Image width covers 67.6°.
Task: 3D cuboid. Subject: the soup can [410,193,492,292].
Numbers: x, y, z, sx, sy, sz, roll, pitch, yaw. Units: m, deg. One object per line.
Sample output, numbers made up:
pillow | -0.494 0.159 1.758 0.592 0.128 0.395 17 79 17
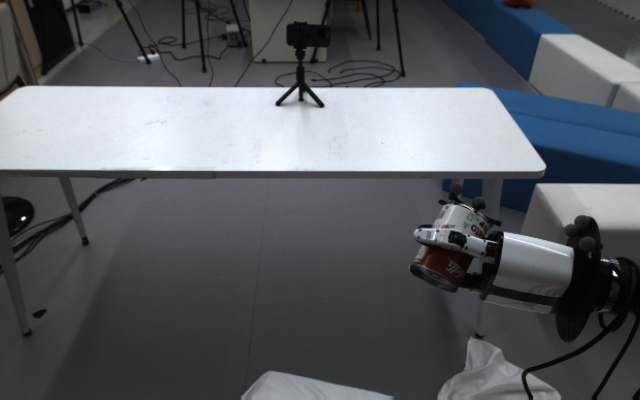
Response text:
soup can | 0.174 0.061 0.643 0.067 0.067 0.101 24 72 28
